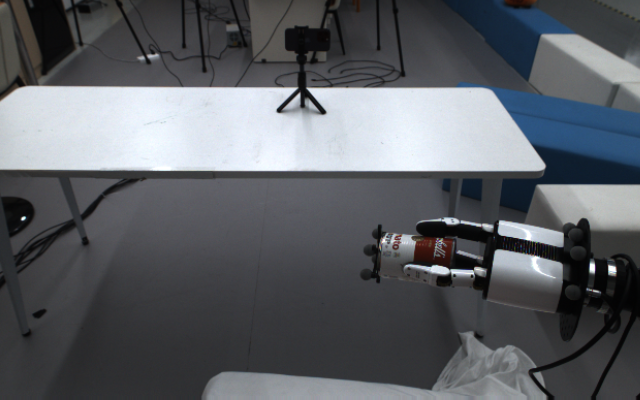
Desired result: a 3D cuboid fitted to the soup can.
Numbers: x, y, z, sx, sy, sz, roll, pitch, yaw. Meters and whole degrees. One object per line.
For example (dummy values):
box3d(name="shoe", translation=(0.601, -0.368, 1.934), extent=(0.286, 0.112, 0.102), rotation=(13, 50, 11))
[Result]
box3d(name="soup can", translation=(0.141, 0.083, 0.688), extent=(0.101, 0.067, 0.067), rotation=(4, 34, 18))
